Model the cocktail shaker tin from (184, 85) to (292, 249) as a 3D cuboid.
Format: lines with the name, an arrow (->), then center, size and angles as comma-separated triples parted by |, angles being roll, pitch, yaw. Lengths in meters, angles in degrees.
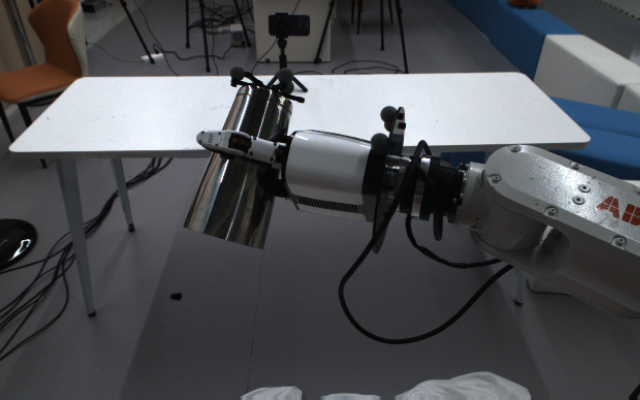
cocktail shaker tin -> -0.085, -0.038, 0.552 | 0.093, 0.170, 0.093 | 15, -6, 2
